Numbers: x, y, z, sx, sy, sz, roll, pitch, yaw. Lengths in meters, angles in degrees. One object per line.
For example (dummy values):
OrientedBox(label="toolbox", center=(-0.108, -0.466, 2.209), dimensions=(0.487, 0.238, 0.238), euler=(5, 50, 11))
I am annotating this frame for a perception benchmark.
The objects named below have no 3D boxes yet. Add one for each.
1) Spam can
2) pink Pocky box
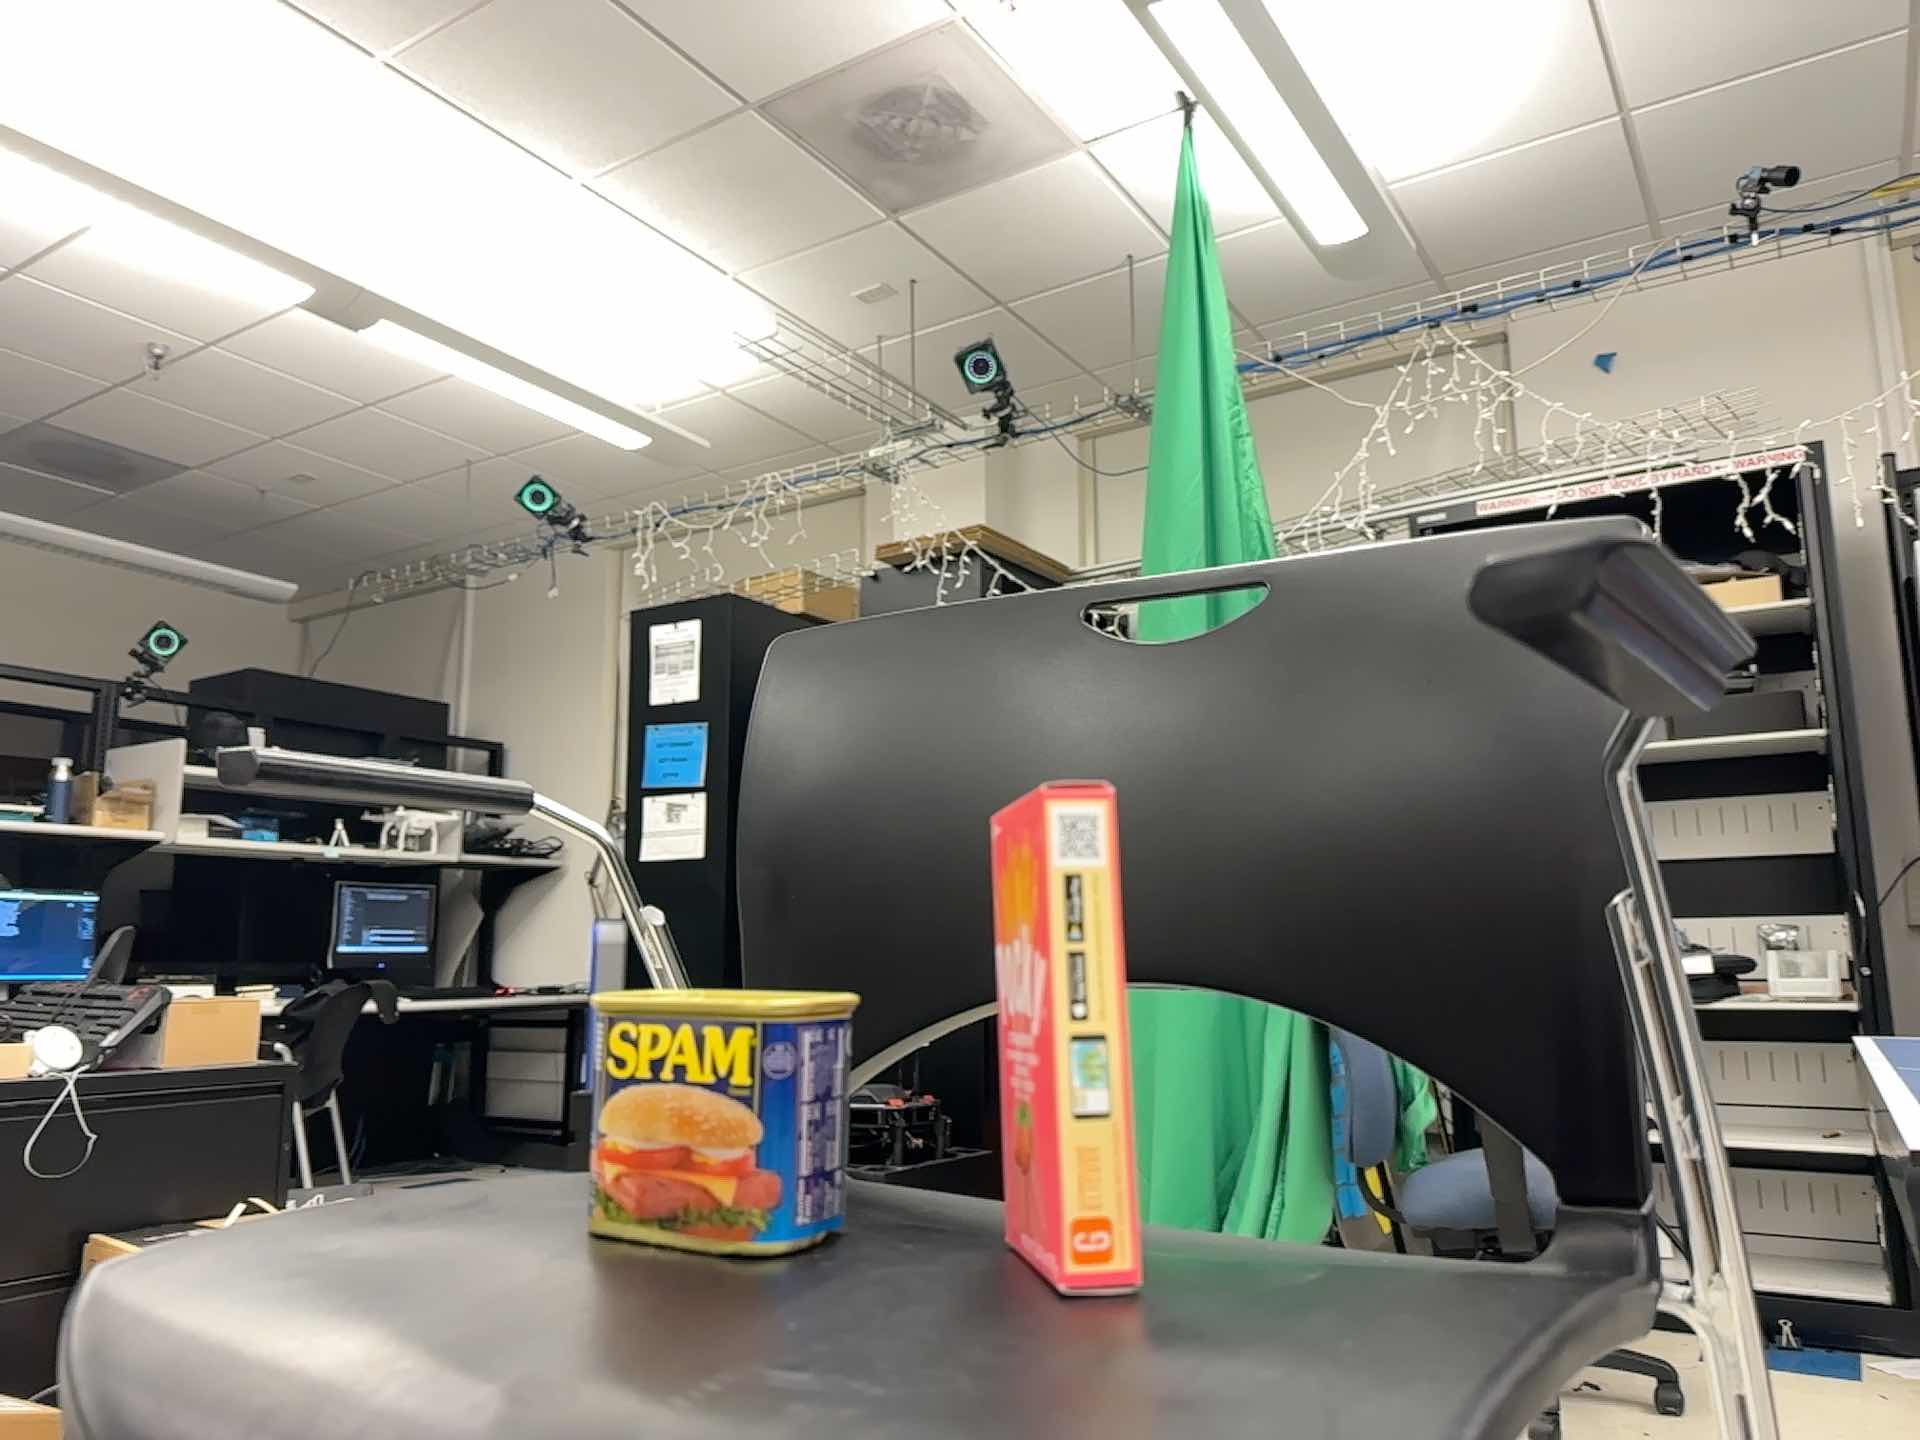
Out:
OrientedBox(label="Spam can", center=(-0.089, 0.142, 0.497), dimensions=(0.100, 0.083, 0.056), euler=(-7, -13, 37))
OrientedBox(label="pink Pocky box", center=(0.037, 0.101, 0.447), dimensions=(0.029, 0.154, 0.084), euler=(0, -13, -9))
